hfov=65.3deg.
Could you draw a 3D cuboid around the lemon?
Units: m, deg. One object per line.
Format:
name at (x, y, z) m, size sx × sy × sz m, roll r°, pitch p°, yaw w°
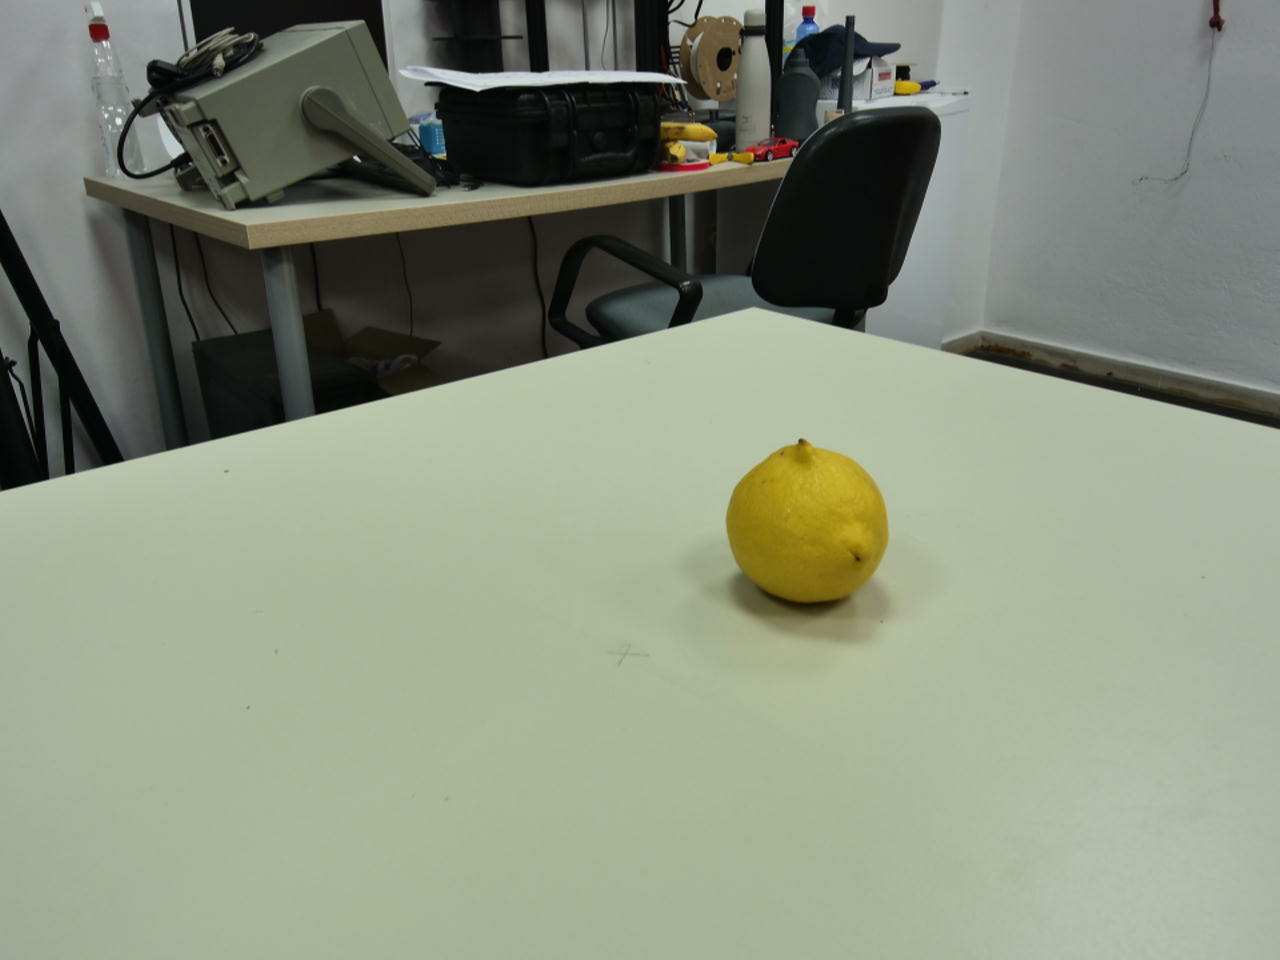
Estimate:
lemon at (0.073, 0.016, 0.436) m, size 0.070 × 0.071 × 0.071 m, roll 6°, pitch 23°, yaw 16°
